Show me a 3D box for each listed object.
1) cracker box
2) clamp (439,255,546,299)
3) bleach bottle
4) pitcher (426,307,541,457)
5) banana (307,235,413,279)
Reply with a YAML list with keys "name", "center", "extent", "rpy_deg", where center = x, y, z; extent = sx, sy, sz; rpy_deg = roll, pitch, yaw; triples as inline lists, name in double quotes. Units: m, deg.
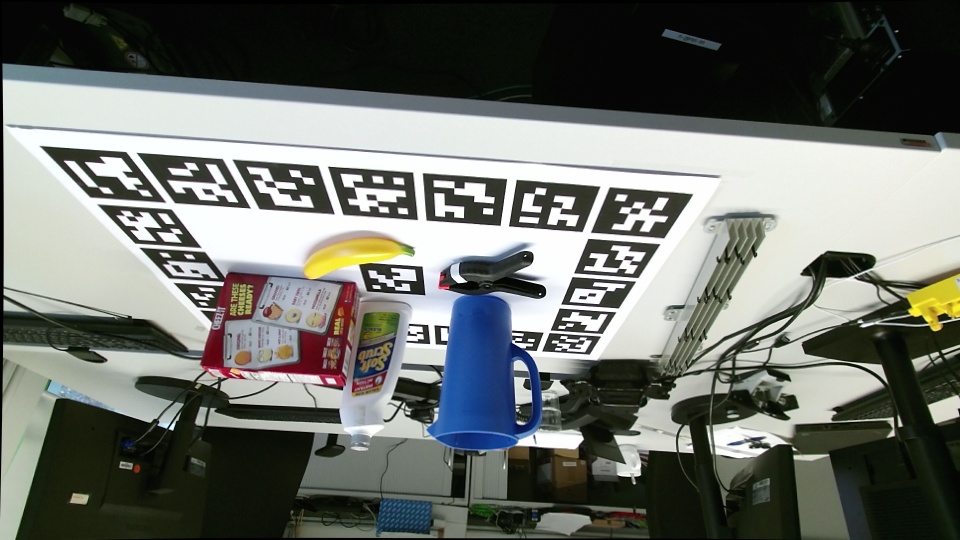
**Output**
- name: "cracker box"
  center: [-0.327, 0.105, 0.883]
  extent: [0.214, 0.163, 0.072]
  rpy_deg: [4, 153, -5]
- name: "clamp"
  center: [0.015, 0.016, 0.851]
  extent: [0.165, 0.036, 0.122]
  rpy_deg: [-2, 151, 13]
- name: "bleach bottle"
  center: [-0.179, 0.178, 0.941]
  extent: [0.103, 0.249, 0.068]
  rpy_deg: [4, 151, -3]
- name: "pitcher"
  center: [0.010, 0.189, 0.905]
  extent: [0.189, 0.241, 0.133]
  rpy_deg: [-3, 151, 15]
- name: "banana"
  center: [-0.203, -0.019, 0.824]
  extent: [0.198, 0.038, 0.074]
  rpy_deg: [-14, 147, 27]
